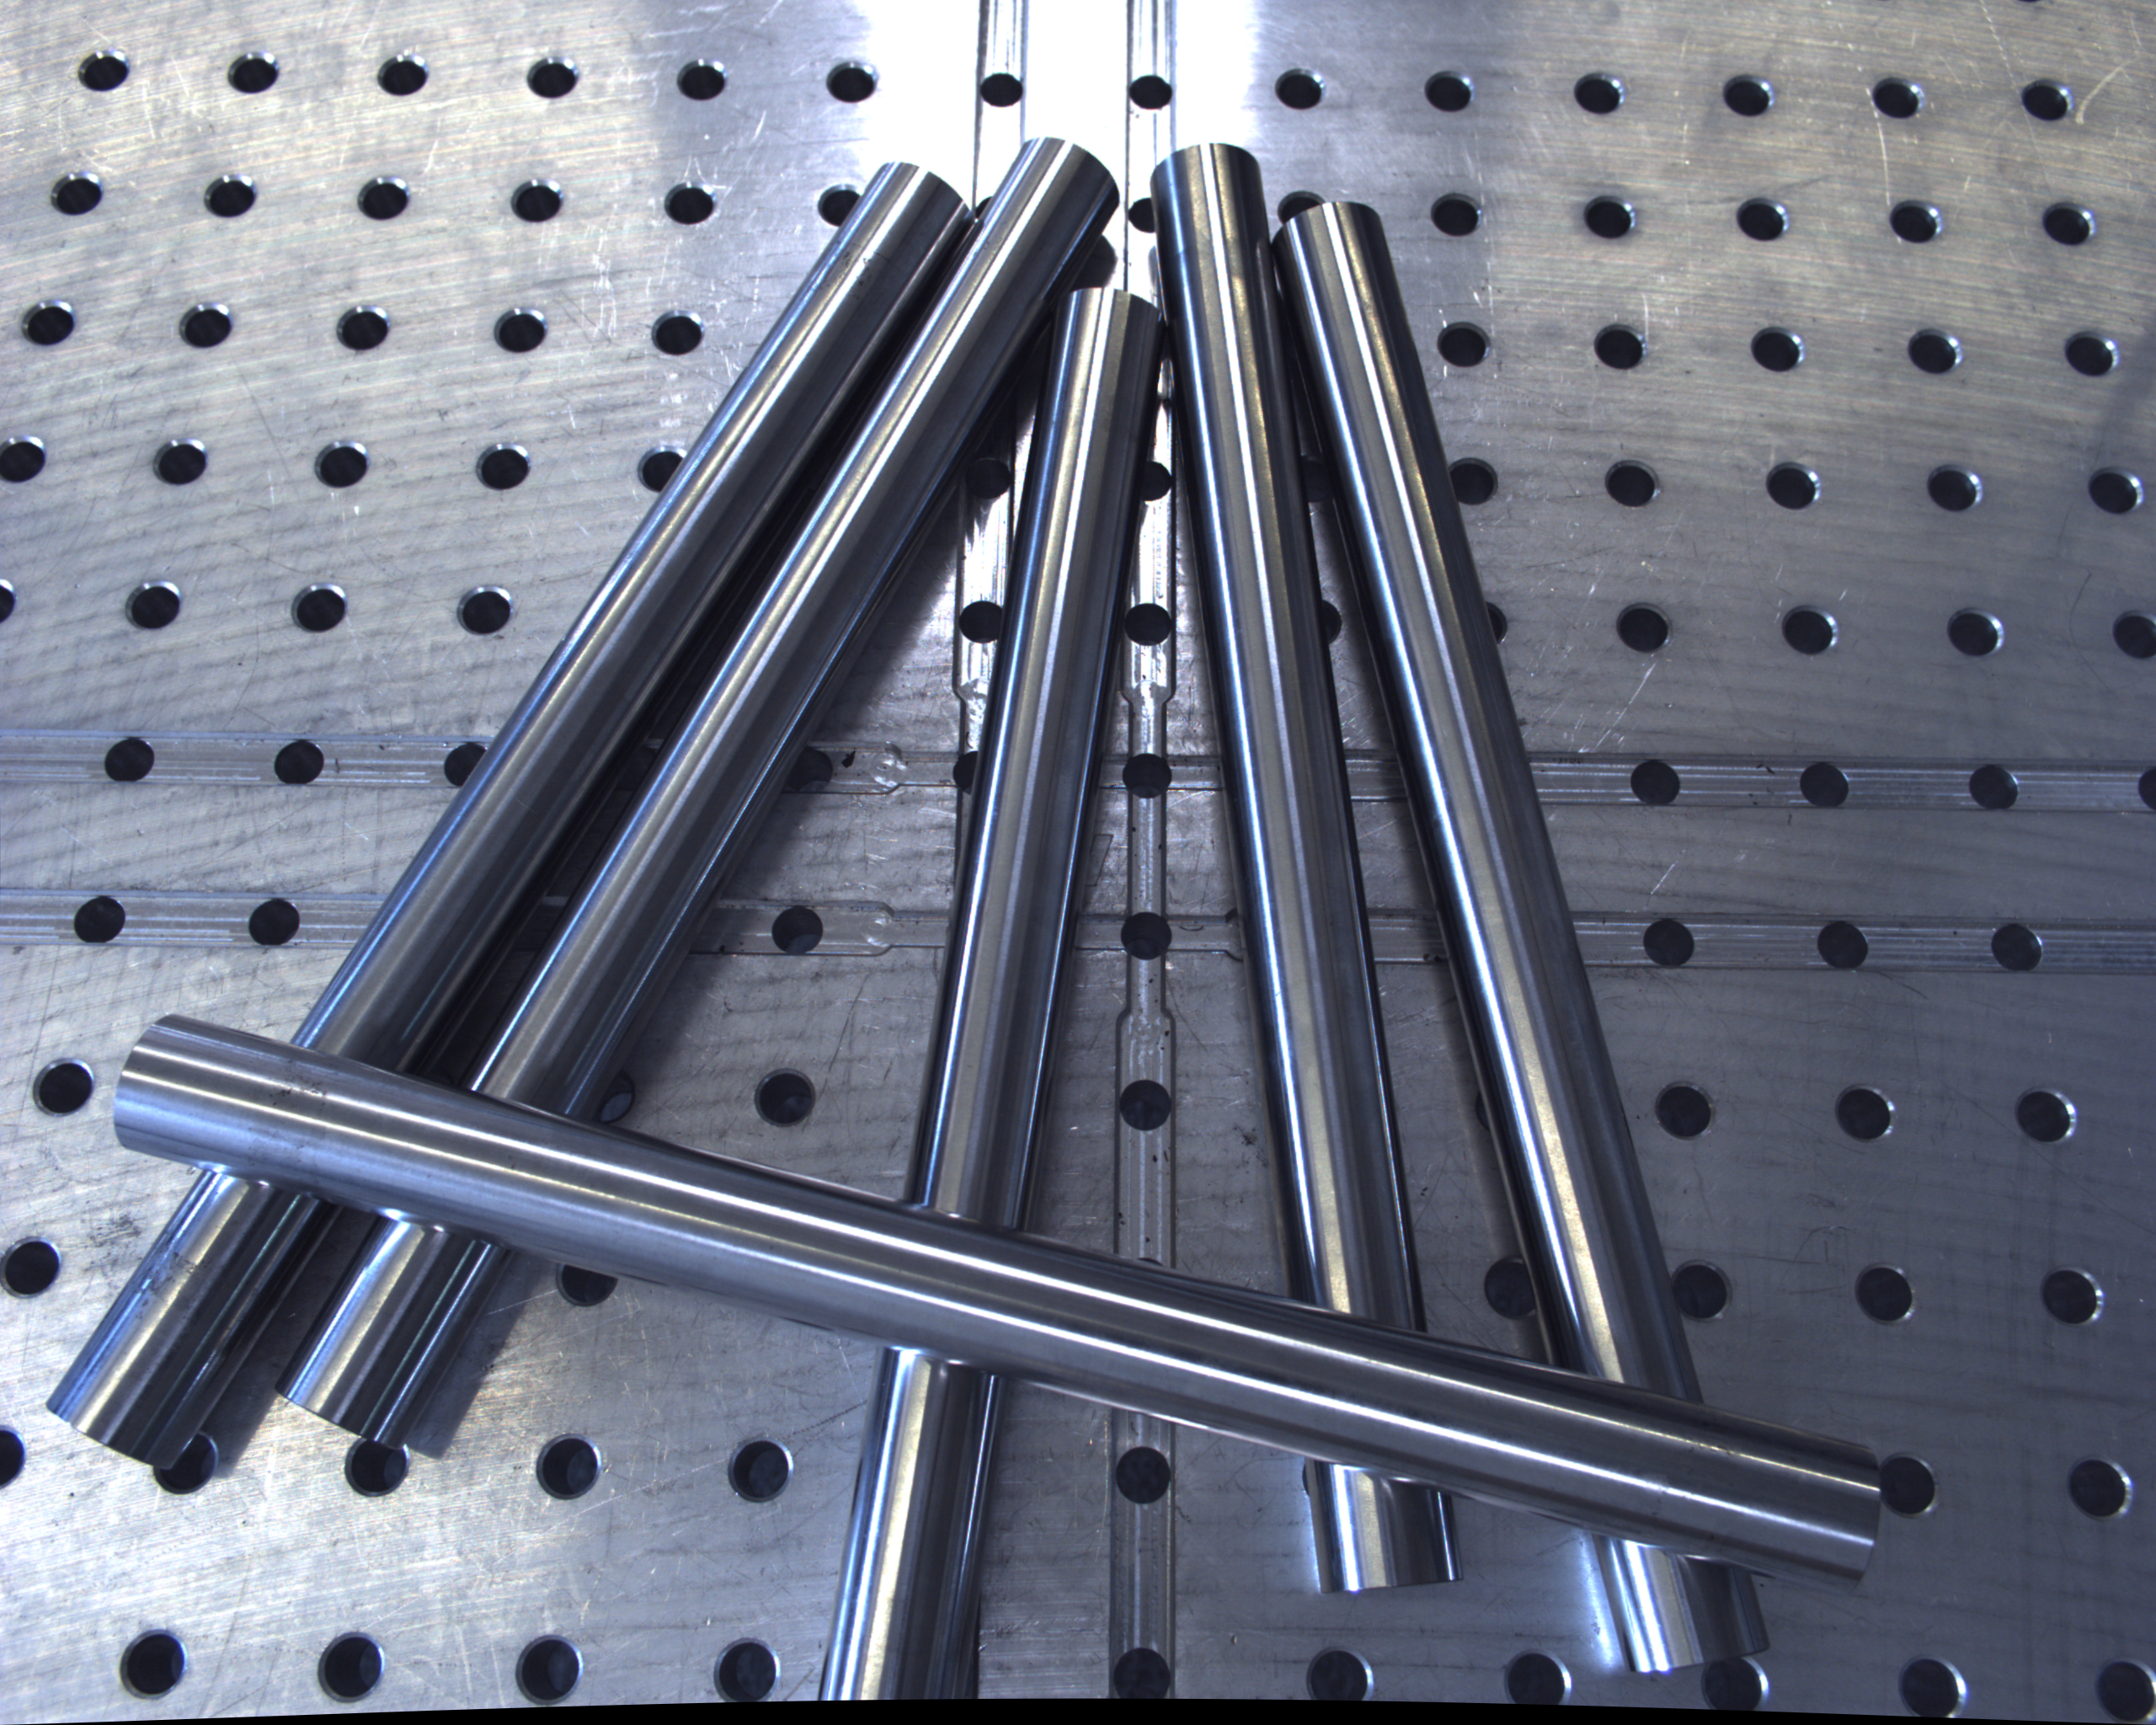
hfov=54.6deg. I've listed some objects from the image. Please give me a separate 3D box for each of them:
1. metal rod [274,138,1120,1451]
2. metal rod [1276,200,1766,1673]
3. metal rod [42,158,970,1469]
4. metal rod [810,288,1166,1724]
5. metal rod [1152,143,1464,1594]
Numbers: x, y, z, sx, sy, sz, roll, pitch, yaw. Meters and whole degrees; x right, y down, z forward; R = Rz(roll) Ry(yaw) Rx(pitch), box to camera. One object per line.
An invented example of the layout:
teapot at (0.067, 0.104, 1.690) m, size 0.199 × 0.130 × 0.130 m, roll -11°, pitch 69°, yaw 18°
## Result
metal rod at (-0.067, -0.027, 0.421) m, size 0.025 × 0.025 × 0.300 m, roll 25°, pitch 72°, yaw 8°
metal rod at (0.081, 0.000, 0.412) m, size 0.025 × 0.025 × 0.299 m, roll -9°, pitch 70°, yaw -3°
metal rod at (-0.104, -0.023, 0.419) m, size 0.025 × 0.025 × 0.300 m, roll 26°, pitch 72°, yaw 9°
metal rod at (-0.014, 0.021, 0.404) m, size 0.025 × 0.025 × 0.299 m, roll 8°, pitch 70°, yaw 3°
metal rod at (0.042, -0.013, 0.417) m, size 0.025 × 0.025 × 0.299 m, roll -5°, pitch 70°, yaw -2°
